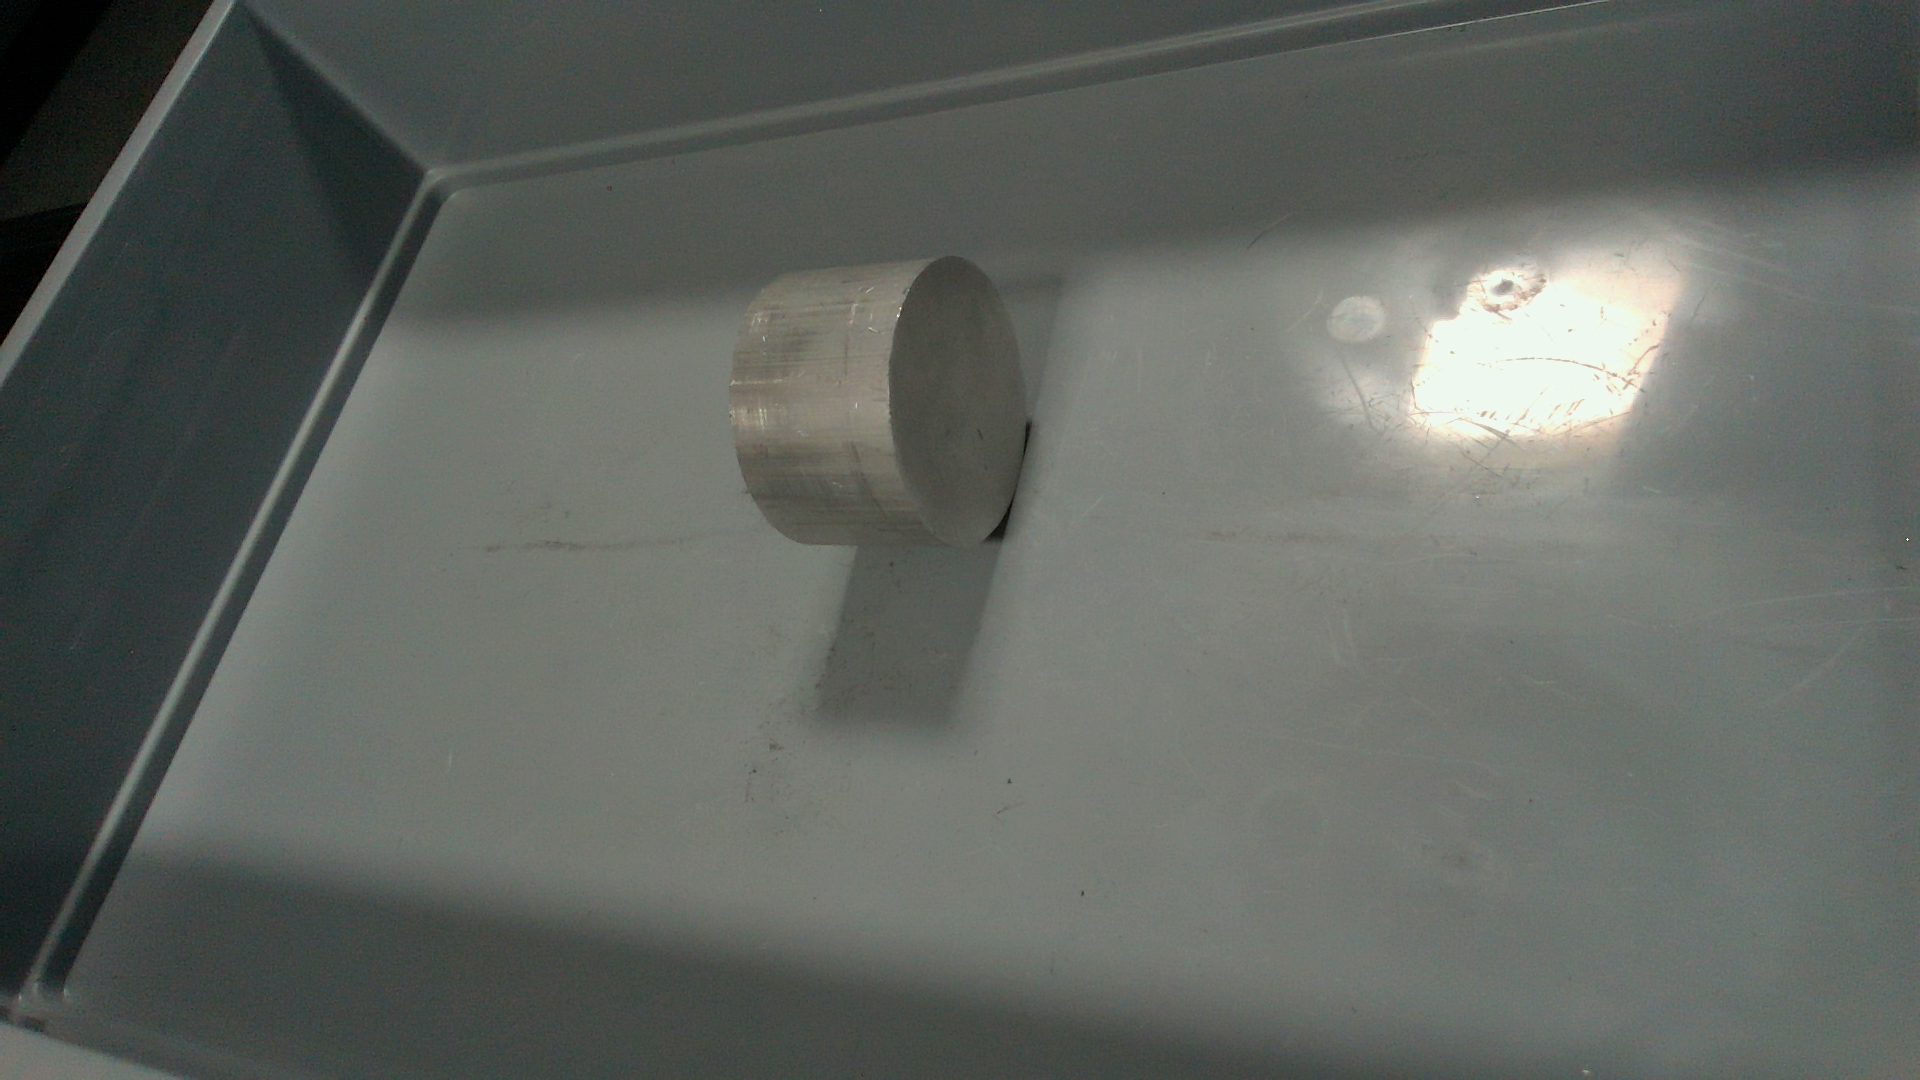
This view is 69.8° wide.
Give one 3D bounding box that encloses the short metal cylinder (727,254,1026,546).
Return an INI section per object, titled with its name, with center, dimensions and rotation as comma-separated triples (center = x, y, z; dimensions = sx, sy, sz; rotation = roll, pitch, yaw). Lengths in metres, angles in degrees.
[short metal cylinder]
center = -0.021, -0.038, 0.391
dimensions = 0.050, 0.080, 0.080
rotation = 0, 62, 29
